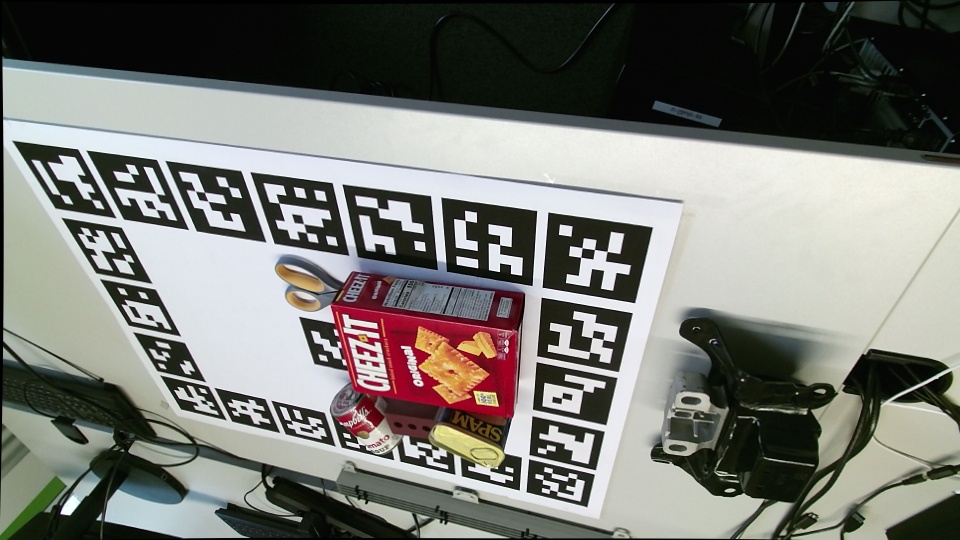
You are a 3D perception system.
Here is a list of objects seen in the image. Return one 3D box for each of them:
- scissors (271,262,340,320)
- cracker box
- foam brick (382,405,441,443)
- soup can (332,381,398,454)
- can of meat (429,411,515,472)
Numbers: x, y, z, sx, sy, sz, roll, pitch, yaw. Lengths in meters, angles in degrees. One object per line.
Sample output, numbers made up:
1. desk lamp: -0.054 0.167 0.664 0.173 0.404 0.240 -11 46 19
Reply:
1. scissors: -0.164 0.033 0.676 0.203 0.016 0.088 5 126 15
2. cracker box: -0.060 0.096 0.649 0.214 0.072 0.164 2 127 12
3. foam brick: -0.094 0.213 0.781 0.078 0.051 0.053 0 125 18
4. soup can: -0.173 0.223 0.814 0.068 0.067 0.102 -26 119 32
5. can of meat: -0.006 0.212 0.727 0.102 0.083 0.058 20 129 4
